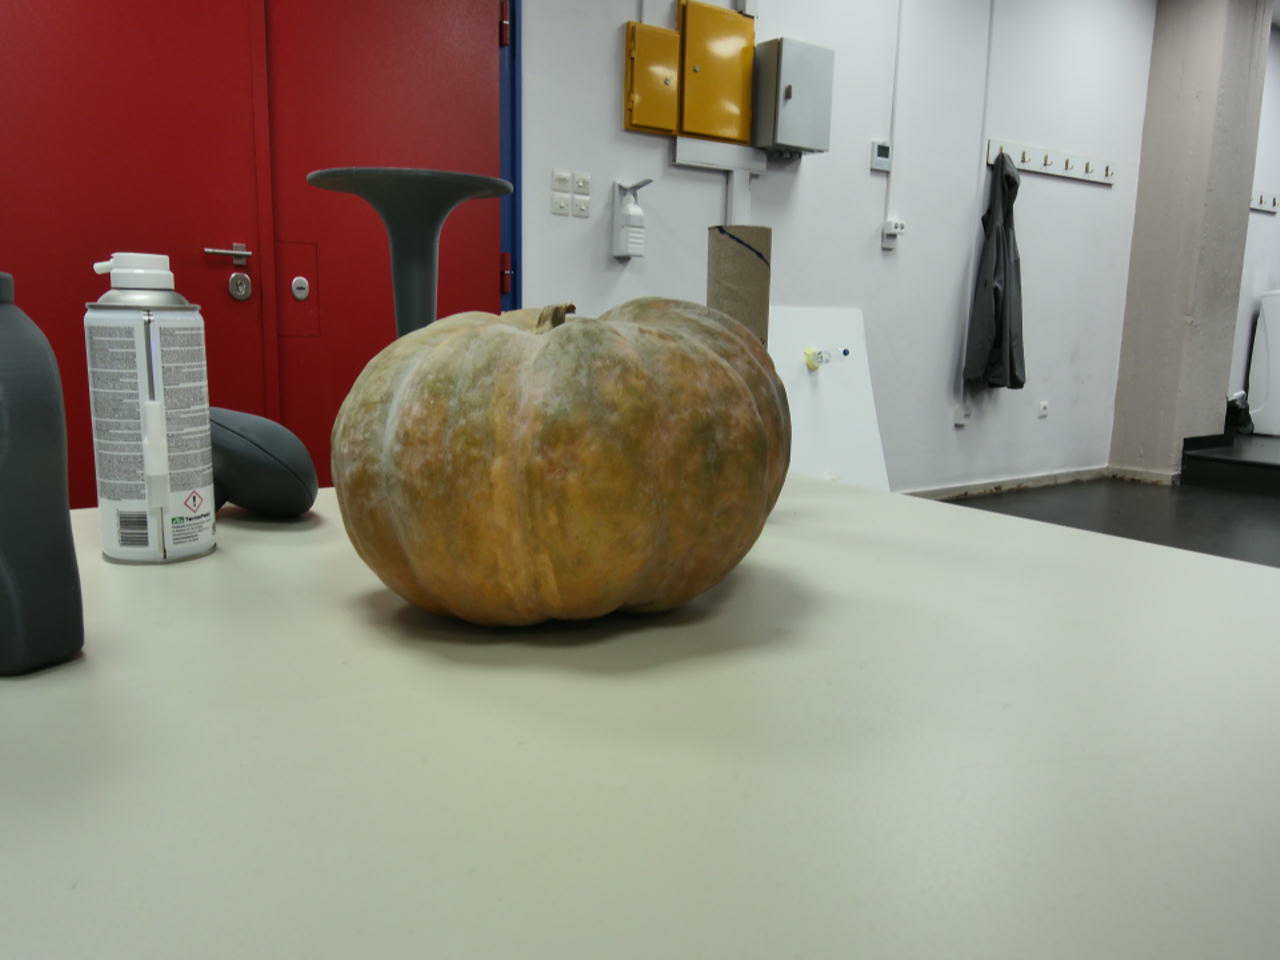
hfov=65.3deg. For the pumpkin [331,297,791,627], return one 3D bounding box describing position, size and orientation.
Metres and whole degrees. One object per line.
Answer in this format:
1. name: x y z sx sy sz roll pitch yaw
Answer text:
1. pumpkin: -0.044 -0.015 0.547 0.252 0.168 0.252 0 8 0
